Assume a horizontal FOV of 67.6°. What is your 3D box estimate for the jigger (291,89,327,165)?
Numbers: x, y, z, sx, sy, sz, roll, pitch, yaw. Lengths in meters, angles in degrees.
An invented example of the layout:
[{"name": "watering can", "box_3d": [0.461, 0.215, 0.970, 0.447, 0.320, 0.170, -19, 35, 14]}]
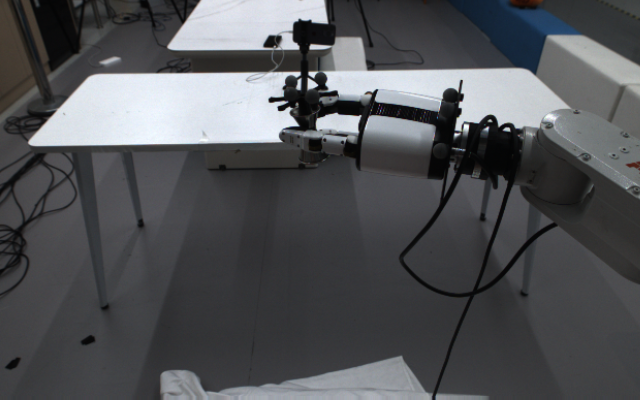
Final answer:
[{"name": "jigger", "box_3d": [-0.012, -0.089, 0.639, 0.043, 0.071, 0.043, -9, 31, 5]}]
